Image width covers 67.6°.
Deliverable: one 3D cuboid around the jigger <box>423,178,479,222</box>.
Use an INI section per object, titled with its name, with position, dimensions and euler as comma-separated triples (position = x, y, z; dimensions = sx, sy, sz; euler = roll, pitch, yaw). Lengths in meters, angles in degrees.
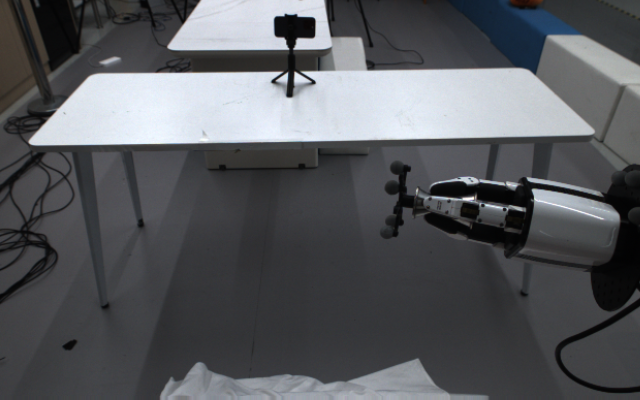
[jigger]
position = 0.152, 0.005, 0.568
dimensions = 0.071, 0.043, 0.043
euler = 8, 35, 15
